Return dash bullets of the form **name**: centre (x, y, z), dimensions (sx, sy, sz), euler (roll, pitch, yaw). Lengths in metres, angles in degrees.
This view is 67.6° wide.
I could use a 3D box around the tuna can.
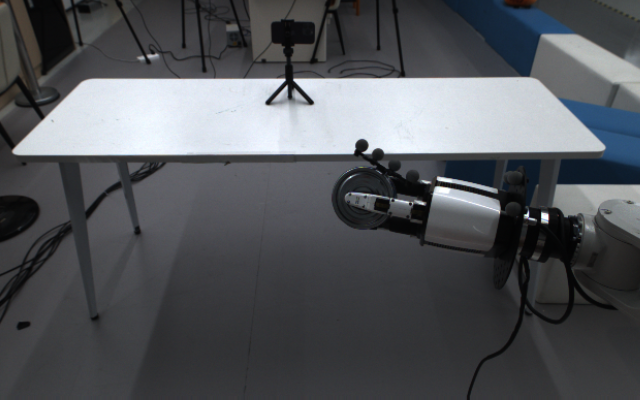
- **tuna can**: centre (0.064, 0.003, 0.652), dimensions (0.085, 0.085, 0.034), euler (13, 4, 15)
